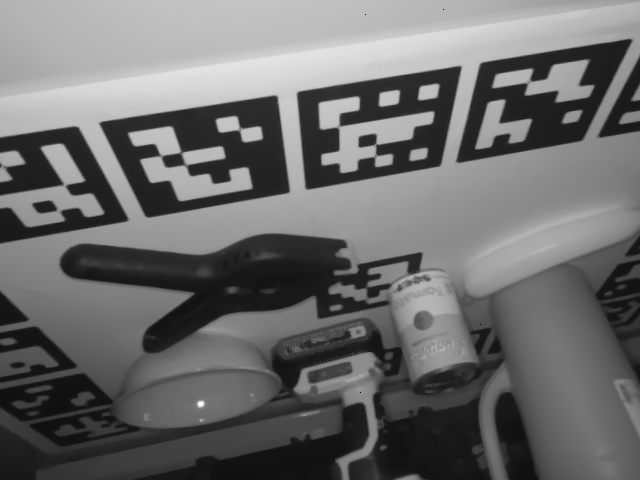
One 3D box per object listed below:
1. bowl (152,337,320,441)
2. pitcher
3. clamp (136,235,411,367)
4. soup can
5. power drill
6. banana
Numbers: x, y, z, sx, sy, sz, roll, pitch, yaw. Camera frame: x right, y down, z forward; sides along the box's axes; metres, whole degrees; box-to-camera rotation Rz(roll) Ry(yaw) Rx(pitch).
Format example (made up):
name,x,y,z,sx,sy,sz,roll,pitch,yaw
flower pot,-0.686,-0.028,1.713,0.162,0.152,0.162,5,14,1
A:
name,x,y,z,sx,sy,sz,roll,pitch,yaw
bowl,-0.084,0.142,0.681,0.162,0.055,0.160,-10,143,-7
pitcher,0.276,0.174,0.694,0.187,0.243,0.134,-23,147,13
clamp,-0.027,0.038,0.565,0.204,0.037,0.164,-11,140,-5
soup can,0.143,0.100,0.669,0.068,0.102,0.067,-11,153,-5
power drill,0.040,0.225,0.694,0.185,0.188,0.057,-11,144,-3
banana,0.258,0.025,0.665,0.196,0.039,0.074,-23,152,14
